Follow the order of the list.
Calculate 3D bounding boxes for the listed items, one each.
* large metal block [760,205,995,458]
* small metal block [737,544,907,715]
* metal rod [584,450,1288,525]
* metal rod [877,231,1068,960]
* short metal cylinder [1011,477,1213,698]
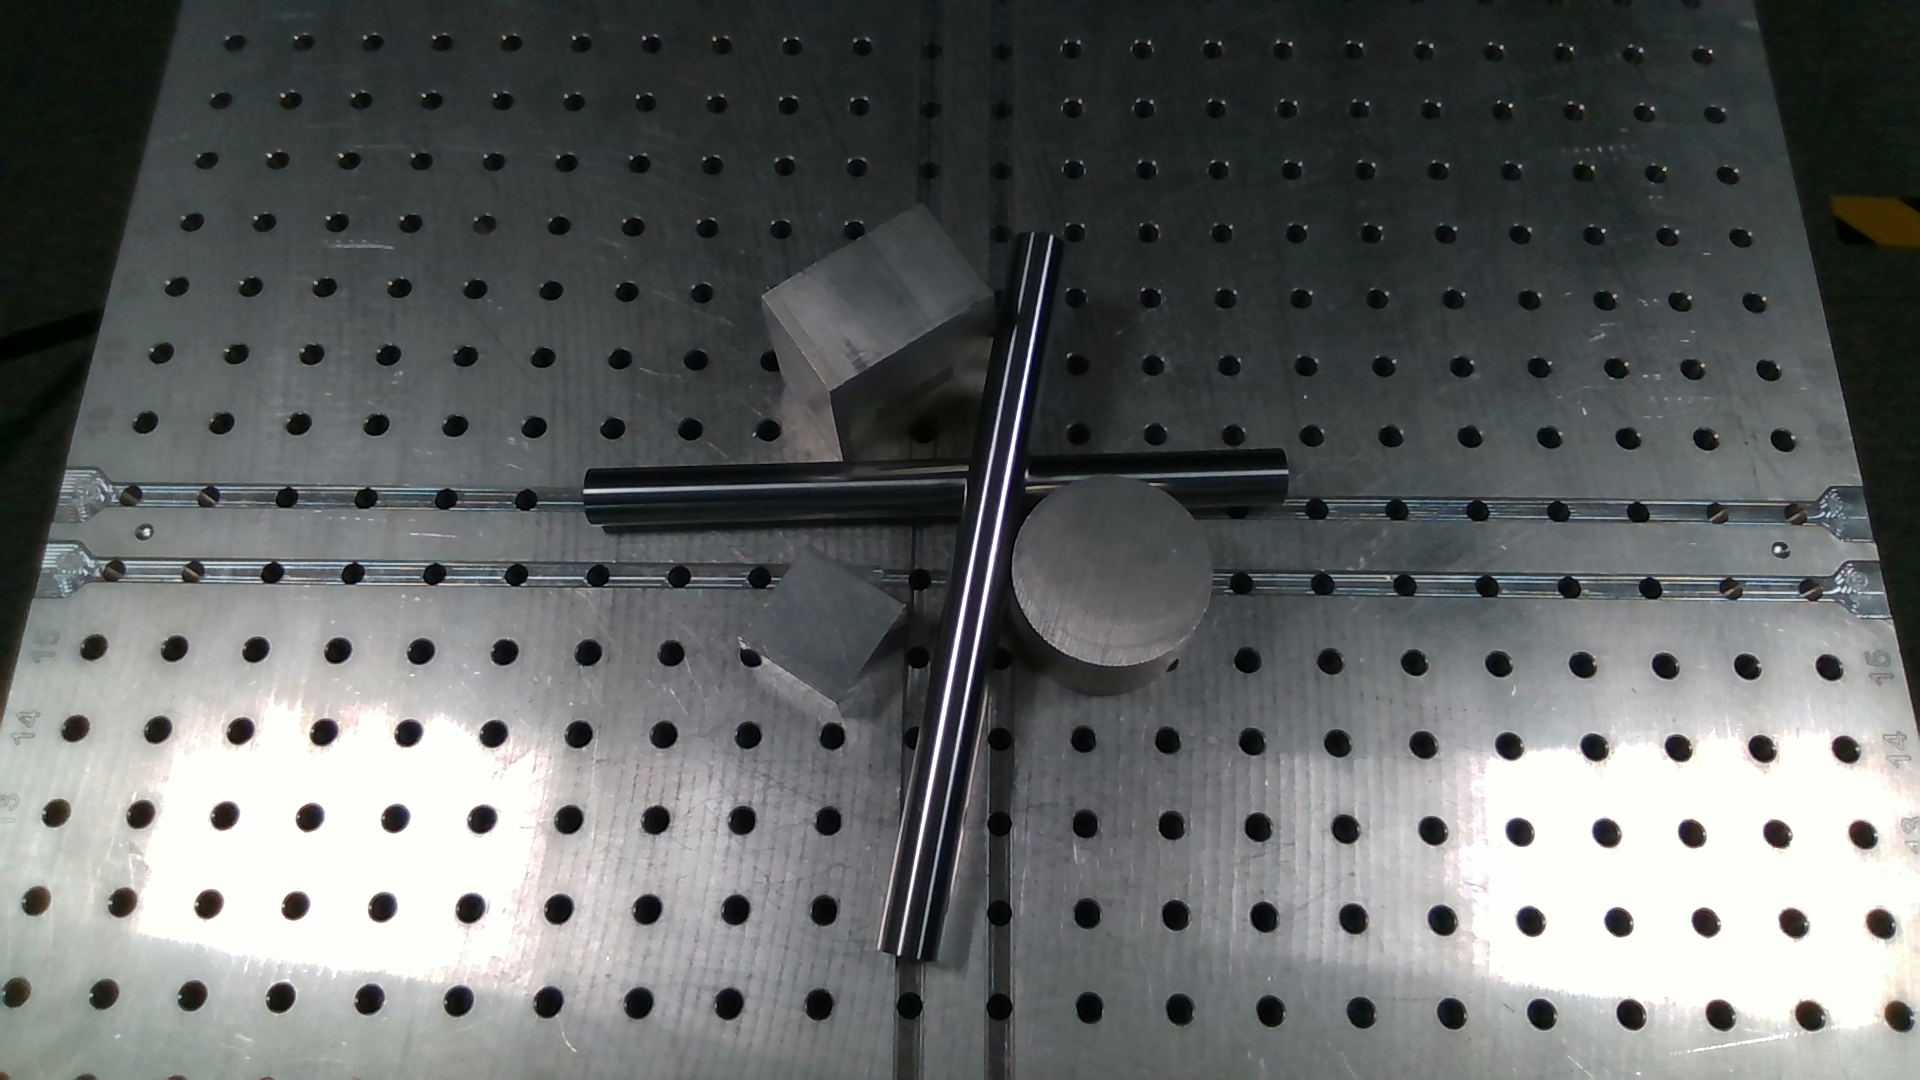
[{"bbox_3d":[-0.033,-0.084,0.590,0.080,0.080,0.050,-33,73,-11],"label":"large metal block"},{"bbox_3d":[-0.057,0.038,0.578,0.050,0.025,0.050,31,73,11],"label":"small metal block"},{"bbox_3d":[-0.010,-0.023,0.599,0.300,0.025,0.025,-2,70,-1],"label":"metal rod"},{"bbox_3d":[0.007,0.016,0.565,0.025,0.025,0.299,10,78,4],"label":"metal rod"},{"bbox_3d":[0.060,0.020,0.570,0.080,0.050,0.080,0,70,0],"label":"short metal cylinder"}]
